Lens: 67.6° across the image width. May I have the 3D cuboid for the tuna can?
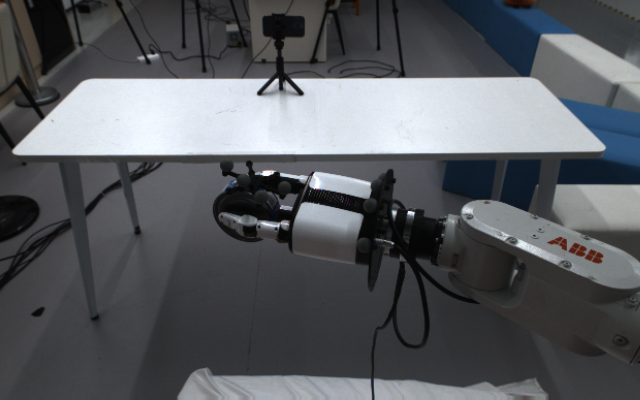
[{"bbox_3d":[-0.098,0.015,0.655,0.085,0.085,0.034,9,35,10],"label":"tuna can"}]
